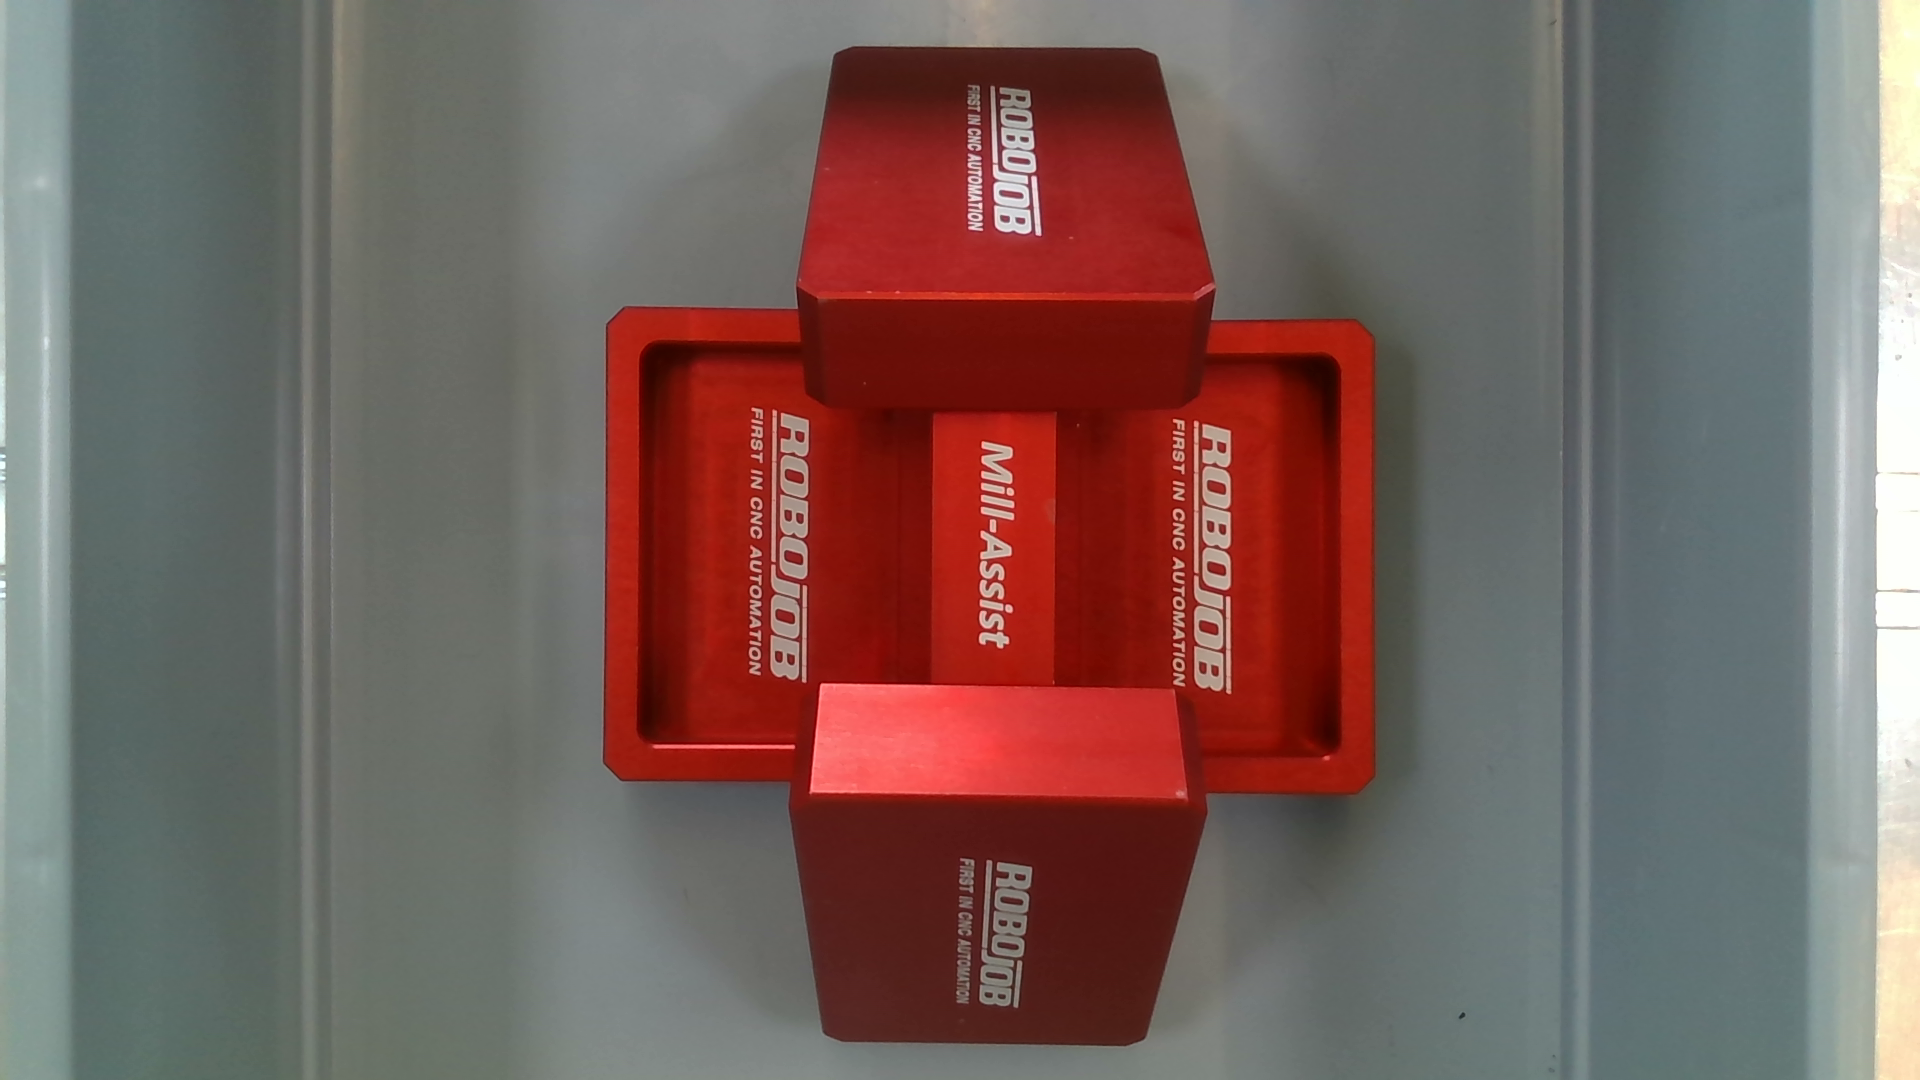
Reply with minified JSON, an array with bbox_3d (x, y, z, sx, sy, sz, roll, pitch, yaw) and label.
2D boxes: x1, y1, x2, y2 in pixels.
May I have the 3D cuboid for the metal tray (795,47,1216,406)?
[{"bbox_3d":[0.010,-0.084,0.348,0.090,0.130,0.030,0,132,0],"label":"metal tray"}]

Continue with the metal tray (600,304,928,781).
[{"bbox_3d":[-0.053,0.001,0.390,0.090,0.030,0.130,0,91,0],"label":"metal tray"}]

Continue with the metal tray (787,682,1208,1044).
[{"bbox_3d":[0.007,0.087,0.349,0.090,0.130,0.030,1,48,0],"label":"metal tray"}]

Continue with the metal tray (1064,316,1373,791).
[{"bbox_3d":[0.068,0.004,0.391,0.090,0.030,0.130,0,91,0],"label":"metal tray"}]

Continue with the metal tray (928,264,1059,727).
[{"bbox_3d":[0.008,0.000,0.362,0.030,0.090,0.130,0,91,0],"label":"metal tray"}]
